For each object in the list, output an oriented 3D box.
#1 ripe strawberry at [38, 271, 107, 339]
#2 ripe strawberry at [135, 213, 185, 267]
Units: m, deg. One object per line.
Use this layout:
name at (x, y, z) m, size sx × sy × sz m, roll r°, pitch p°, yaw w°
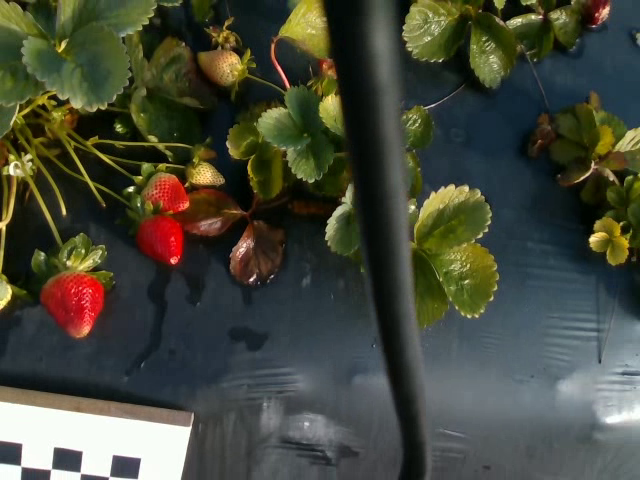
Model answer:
ripe strawberry at (-0.201, 0.054, 0.483) m, size 0.050 × 0.065 × 0.050 m, roll -25°, pitch -33°, yaw 9°
ripe strawberry at (-0.136, 0.004, 0.509) m, size 0.041 × 0.045 × 0.055 m, roll 19°, pitch 28°, yaw -53°
